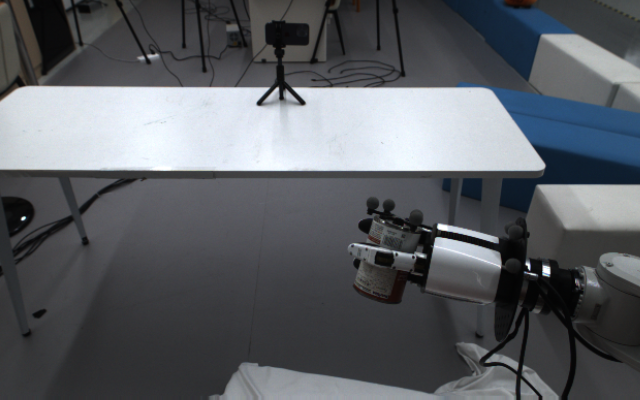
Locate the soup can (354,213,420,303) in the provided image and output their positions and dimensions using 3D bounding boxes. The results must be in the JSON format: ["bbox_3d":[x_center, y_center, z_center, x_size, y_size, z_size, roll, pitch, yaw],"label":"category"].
[{"bbox_3d":[0.092,0.078,0.646,0.067,0.101,0.067,15,7,-2],"label":"soup can"}]
